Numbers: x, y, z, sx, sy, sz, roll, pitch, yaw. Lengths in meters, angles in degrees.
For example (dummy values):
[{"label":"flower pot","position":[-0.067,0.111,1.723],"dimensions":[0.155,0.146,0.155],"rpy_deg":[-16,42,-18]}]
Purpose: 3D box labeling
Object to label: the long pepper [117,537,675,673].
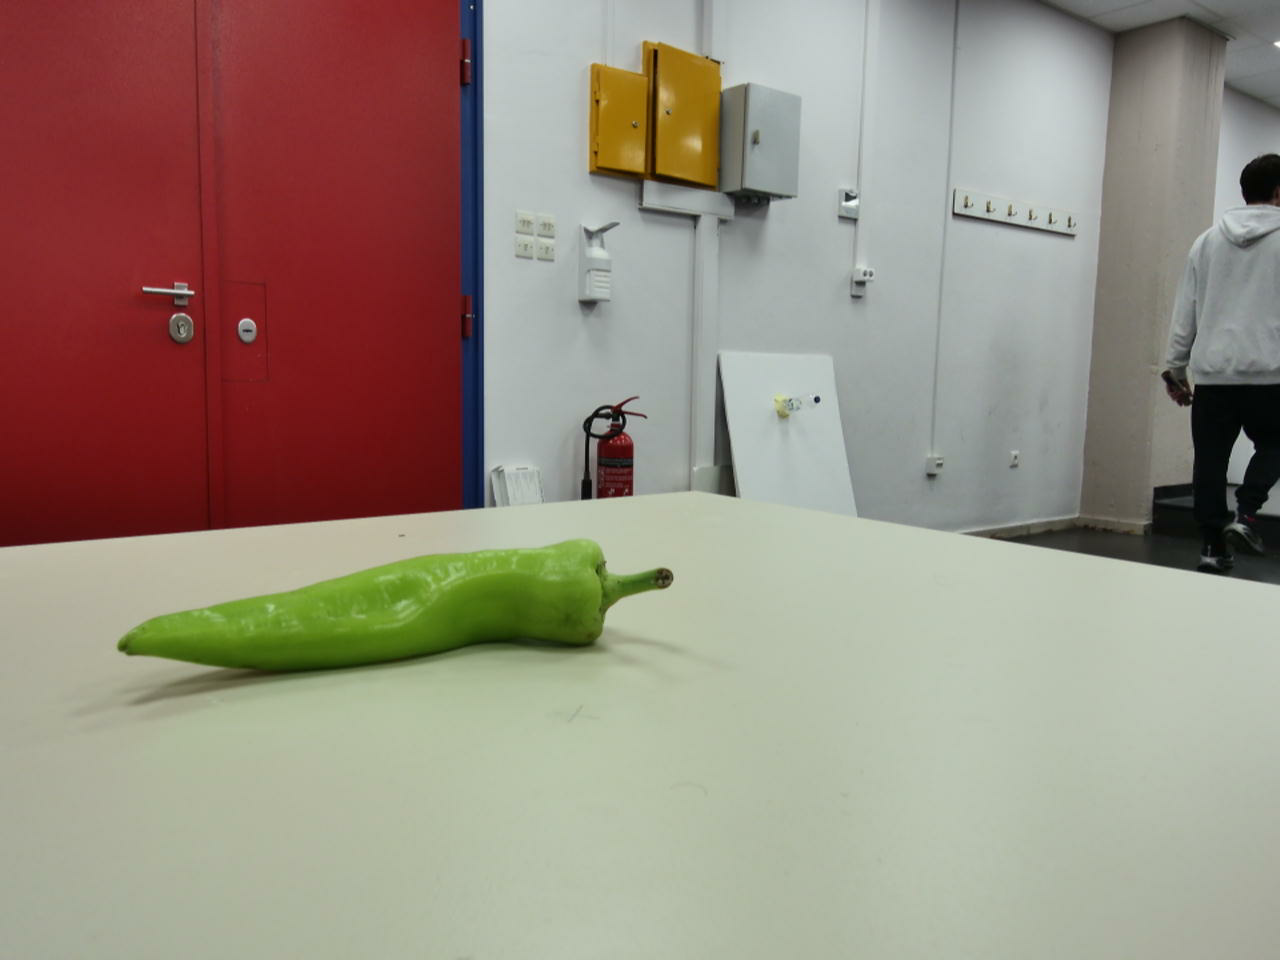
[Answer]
[{"label":"long pepper","position":[-0.090,0.051,0.407],"dimensions":[0.204,0.045,0.065],"rpy_deg":[-2,4,-22]}]
